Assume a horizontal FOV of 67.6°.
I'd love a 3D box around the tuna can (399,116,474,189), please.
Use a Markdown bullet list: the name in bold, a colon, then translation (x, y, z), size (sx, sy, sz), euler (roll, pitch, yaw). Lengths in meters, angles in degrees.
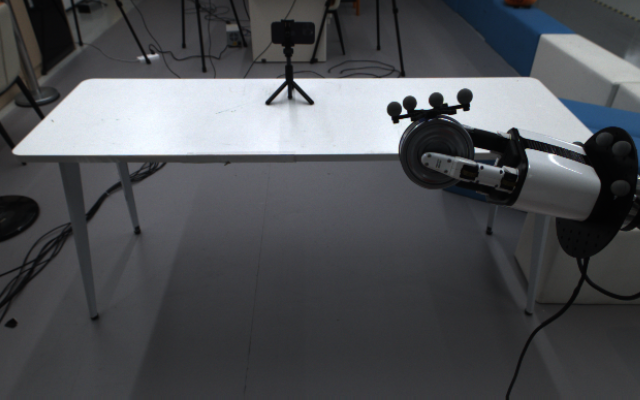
- **tuna can**: translation (0.139, -0.059, 0.573), size (0.085, 0.085, 0.034), euler (6, 18, 5)
